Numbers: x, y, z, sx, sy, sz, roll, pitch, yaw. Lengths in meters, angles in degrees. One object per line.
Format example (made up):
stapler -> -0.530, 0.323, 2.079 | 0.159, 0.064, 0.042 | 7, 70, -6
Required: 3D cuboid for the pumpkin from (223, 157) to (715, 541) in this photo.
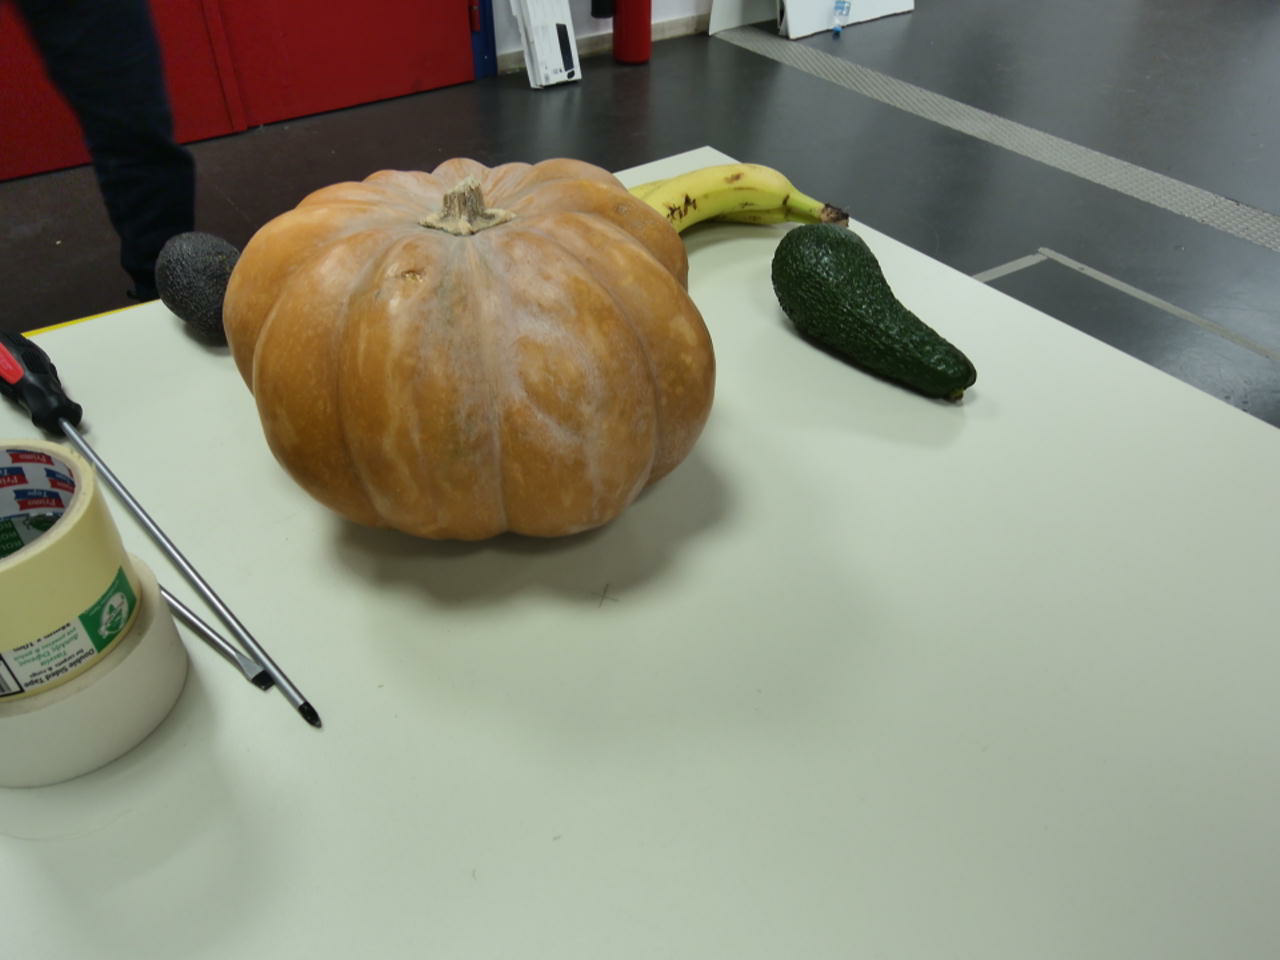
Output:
pumpkin -> -0.089, -0.078, 0.564 | 0.277, 0.181, 0.277 | 0, 39, 0
